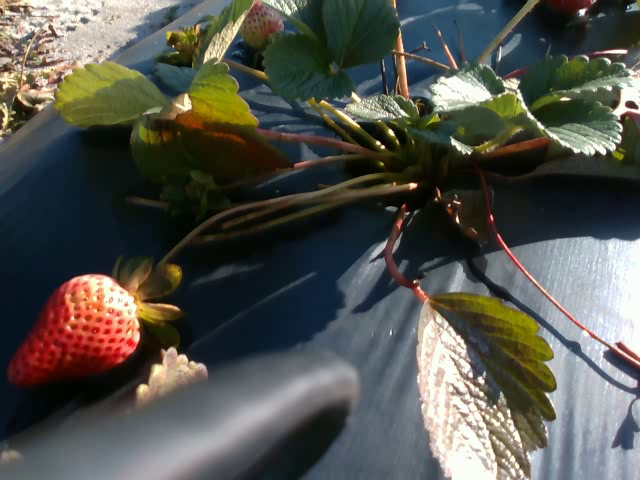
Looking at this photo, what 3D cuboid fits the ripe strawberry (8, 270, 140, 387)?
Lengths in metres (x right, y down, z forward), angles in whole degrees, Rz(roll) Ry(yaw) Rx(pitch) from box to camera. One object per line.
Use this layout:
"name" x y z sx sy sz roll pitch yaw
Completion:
"ripe strawberry" -0.091 0.035 0.214 0.044 0.044 0.064 -26 15 47
